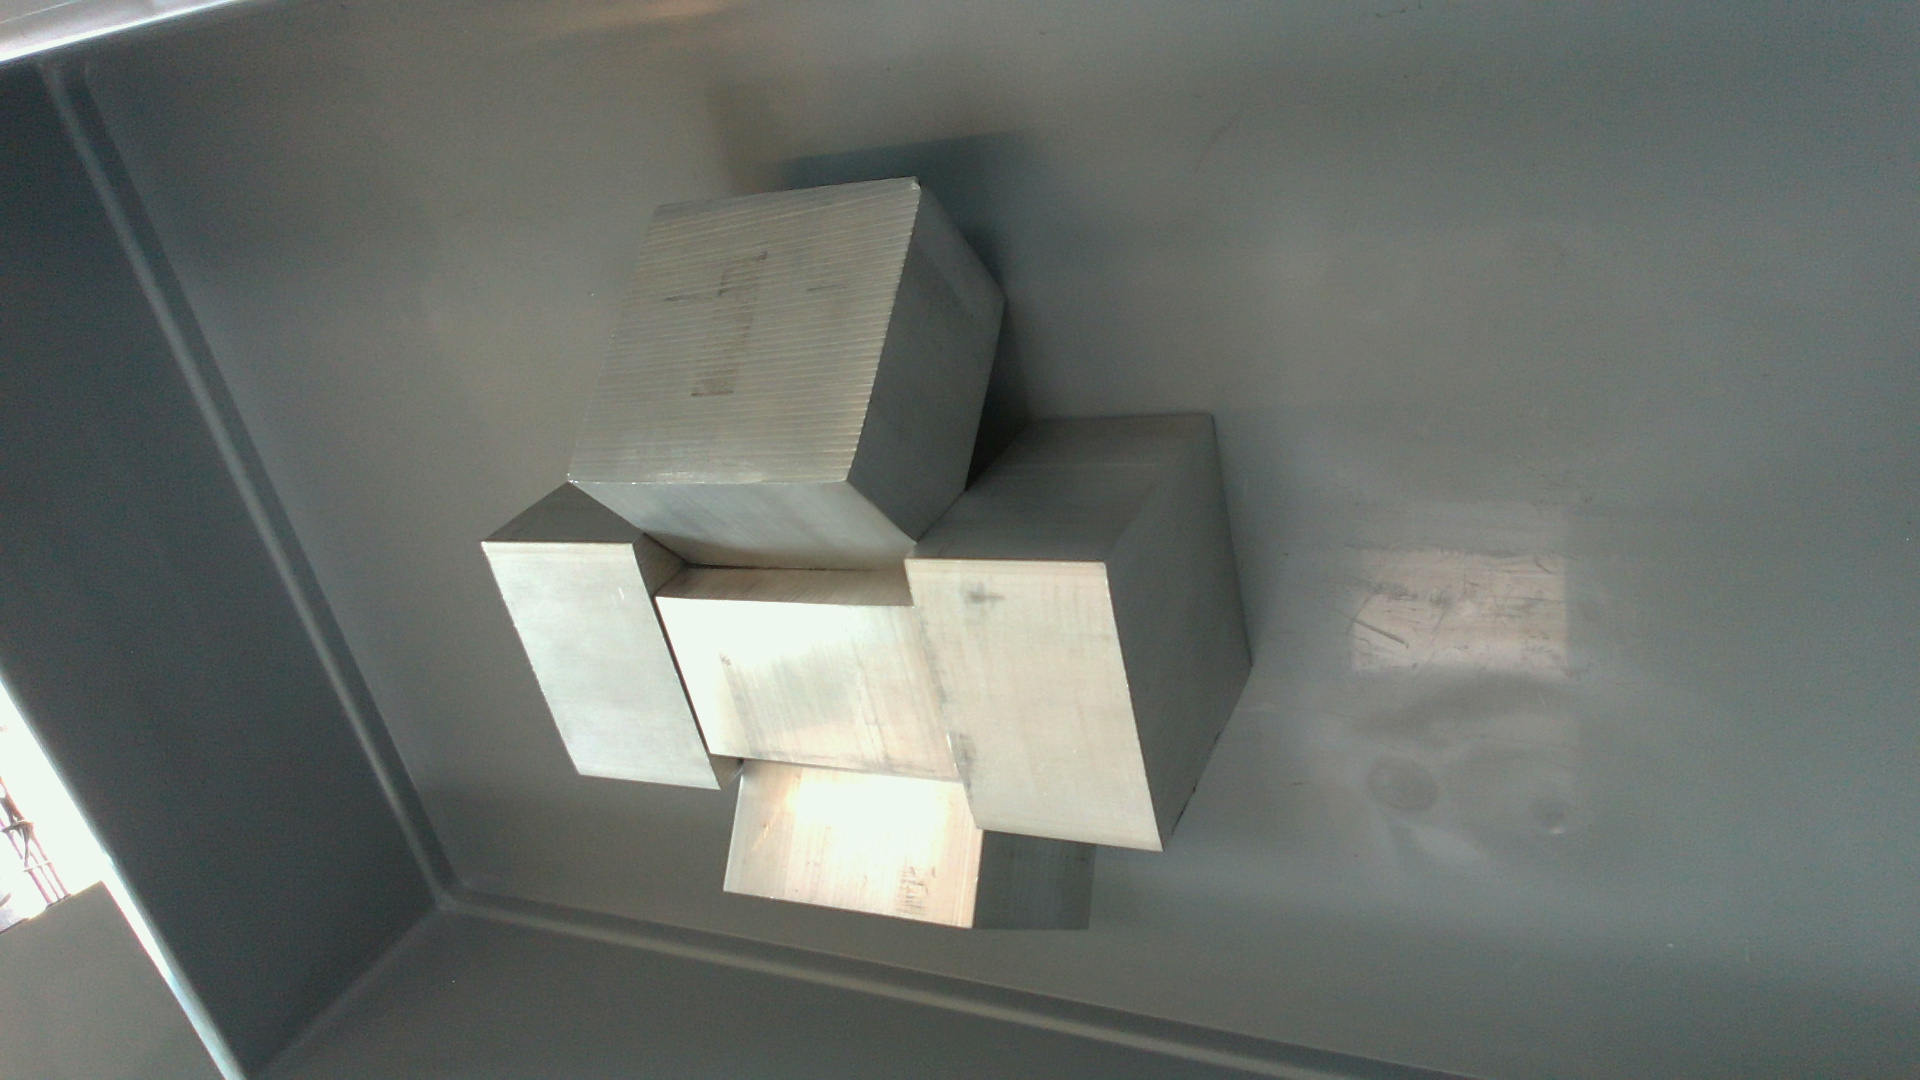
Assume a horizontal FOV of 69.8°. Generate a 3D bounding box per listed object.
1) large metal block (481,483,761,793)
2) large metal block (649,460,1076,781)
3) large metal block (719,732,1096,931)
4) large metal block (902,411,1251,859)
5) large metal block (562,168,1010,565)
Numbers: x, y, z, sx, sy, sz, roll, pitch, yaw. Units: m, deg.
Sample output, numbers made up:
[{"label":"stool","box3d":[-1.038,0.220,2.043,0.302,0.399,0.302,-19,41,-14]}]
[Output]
[{"label":"large metal block","box3d":[-0.083,0.016,0.411,0.050,0.080,0.080,1,119,28]},{"label":"large metal block","box3d":[-0.023,0.018,0.380,0.080,0.080,0.050,1,119,28]},{"label":"large metal block","box3d":[-0.011,0.084,0.405,0.080,0.080,0.050,0,77,27]},{"label":"large metal block","box3d":[0.034,0.021,0.351,0.050,0.080,0.080,1,119,28]},{"label":"large metal block","box3d":[-0.041,-0.041,0.345,0.080,0.080,0.050,2,157,27]}]
